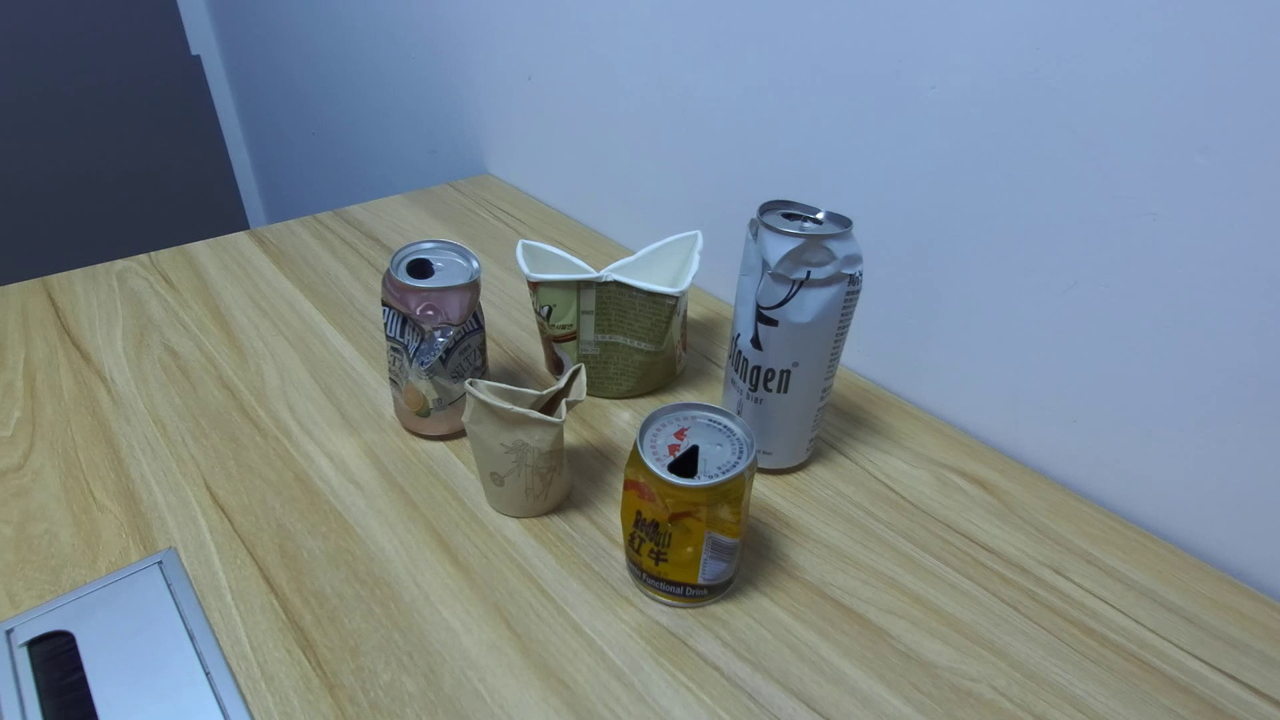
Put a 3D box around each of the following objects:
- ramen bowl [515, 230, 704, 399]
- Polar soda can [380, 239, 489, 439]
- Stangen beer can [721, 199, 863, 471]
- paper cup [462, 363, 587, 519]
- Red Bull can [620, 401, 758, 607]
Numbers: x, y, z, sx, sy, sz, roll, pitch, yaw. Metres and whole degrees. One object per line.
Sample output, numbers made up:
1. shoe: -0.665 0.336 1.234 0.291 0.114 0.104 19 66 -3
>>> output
1. ramen bowl: -0.024 -0.041 0.530 0.128 0.093 0.111 6 36 6
2. Polar soda can: -0.130 -0.011 0.466 0.067 0.122 0.070 -11 37 -27
3. Stangen beer can: 0.089 -0.011 0.433 0.066 0.166 0.066 1 34 -3
4. paper cup: -0.065 0.044 0.420 0.066 0.083 0.058 15 35 15
5. Red Bull can: 0.026 0.075 0.371 0.072 0.092 0.072 3 35 -2
